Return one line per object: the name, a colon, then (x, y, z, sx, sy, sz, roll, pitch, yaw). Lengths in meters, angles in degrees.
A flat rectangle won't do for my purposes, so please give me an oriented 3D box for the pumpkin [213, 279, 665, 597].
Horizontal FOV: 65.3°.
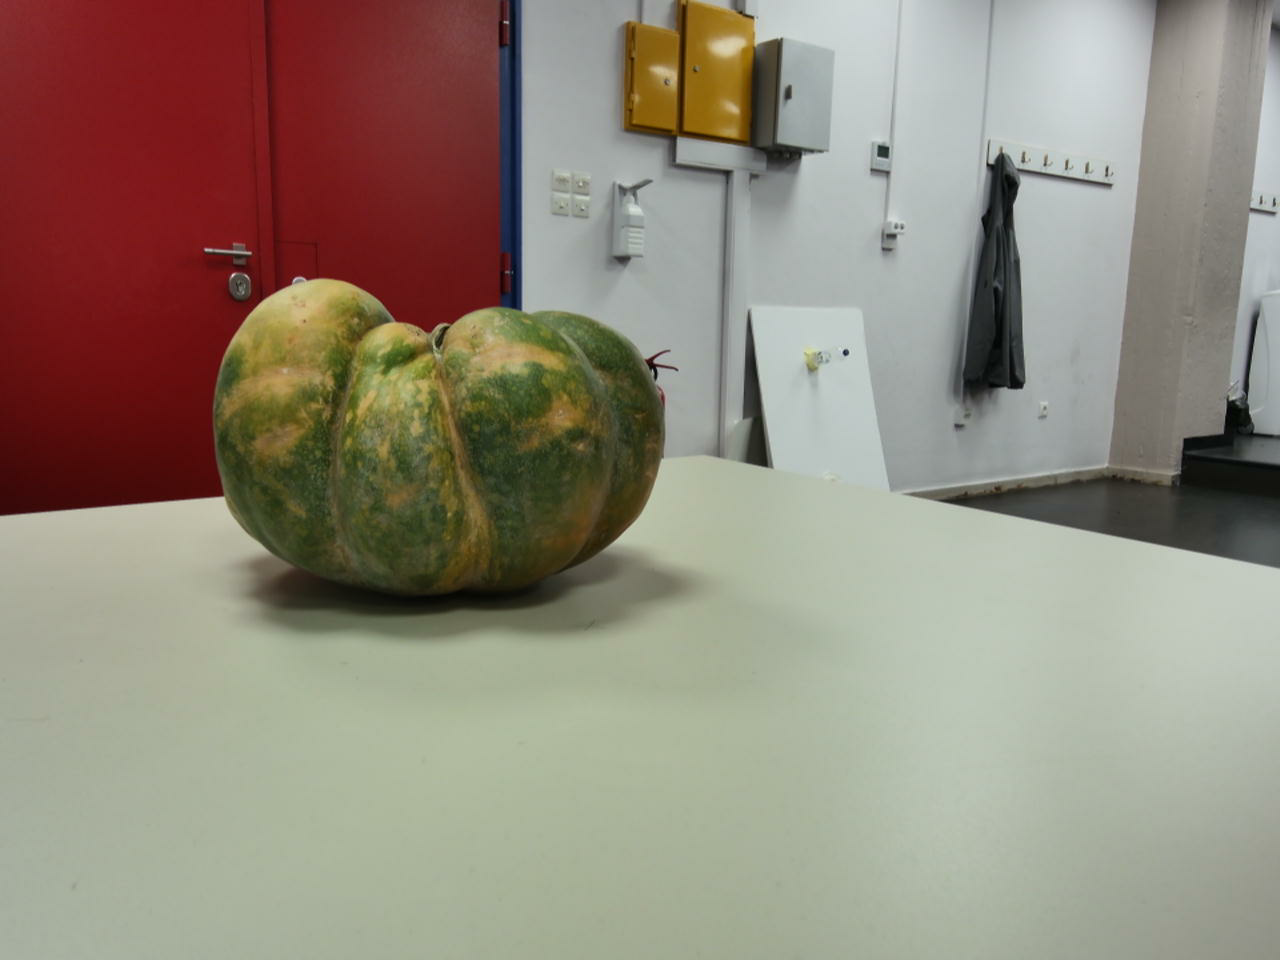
pumpkin: (-0.122, -0.025, 0.586, 0.270, 0.173, 0.237, 1, 8, 1)
